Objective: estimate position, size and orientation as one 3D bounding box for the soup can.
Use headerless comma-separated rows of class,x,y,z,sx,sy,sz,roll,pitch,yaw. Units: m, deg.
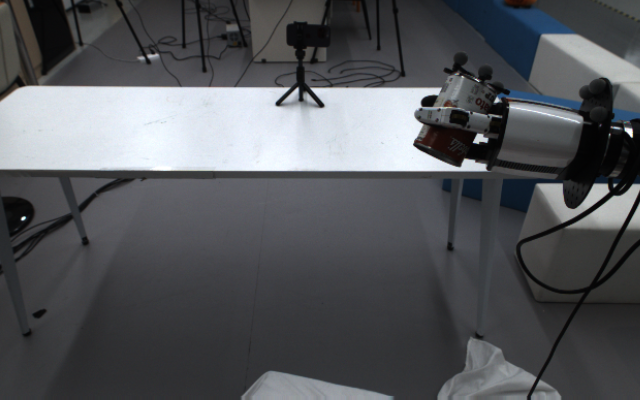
soup can,0.174,-0.103,0.620,0.067,0.101,0.067,26,5,-3
